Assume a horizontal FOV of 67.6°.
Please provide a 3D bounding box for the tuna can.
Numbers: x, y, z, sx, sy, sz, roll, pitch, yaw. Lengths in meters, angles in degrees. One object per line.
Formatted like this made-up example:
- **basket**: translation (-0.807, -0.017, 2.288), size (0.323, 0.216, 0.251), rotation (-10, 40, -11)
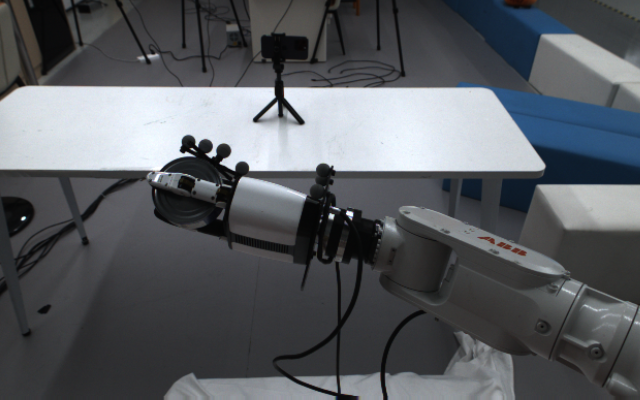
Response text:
- **tuna can**: translation (-0.160, -0.009, 0.601), size (0.085, 0.034, 0.085), rotation (0, 72, 0)
